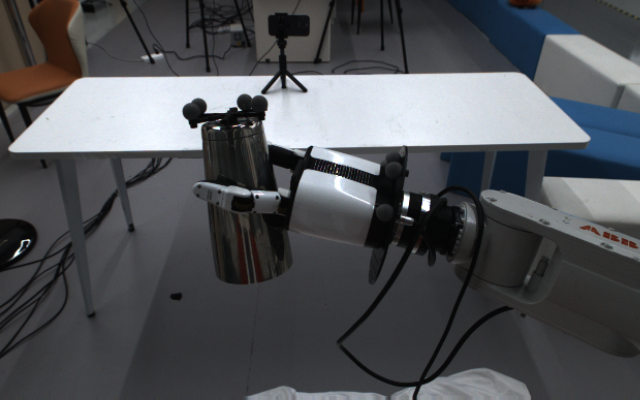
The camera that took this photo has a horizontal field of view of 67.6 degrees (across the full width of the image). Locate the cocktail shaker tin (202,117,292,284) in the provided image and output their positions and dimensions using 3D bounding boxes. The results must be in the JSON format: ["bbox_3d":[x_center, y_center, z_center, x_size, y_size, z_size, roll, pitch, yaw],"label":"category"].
[{"bbox_3d":[-0.085,-0.002,0.543,0.093,0.170,0.093,-6,19,2],"label":"cocktail shaker tin"}]
